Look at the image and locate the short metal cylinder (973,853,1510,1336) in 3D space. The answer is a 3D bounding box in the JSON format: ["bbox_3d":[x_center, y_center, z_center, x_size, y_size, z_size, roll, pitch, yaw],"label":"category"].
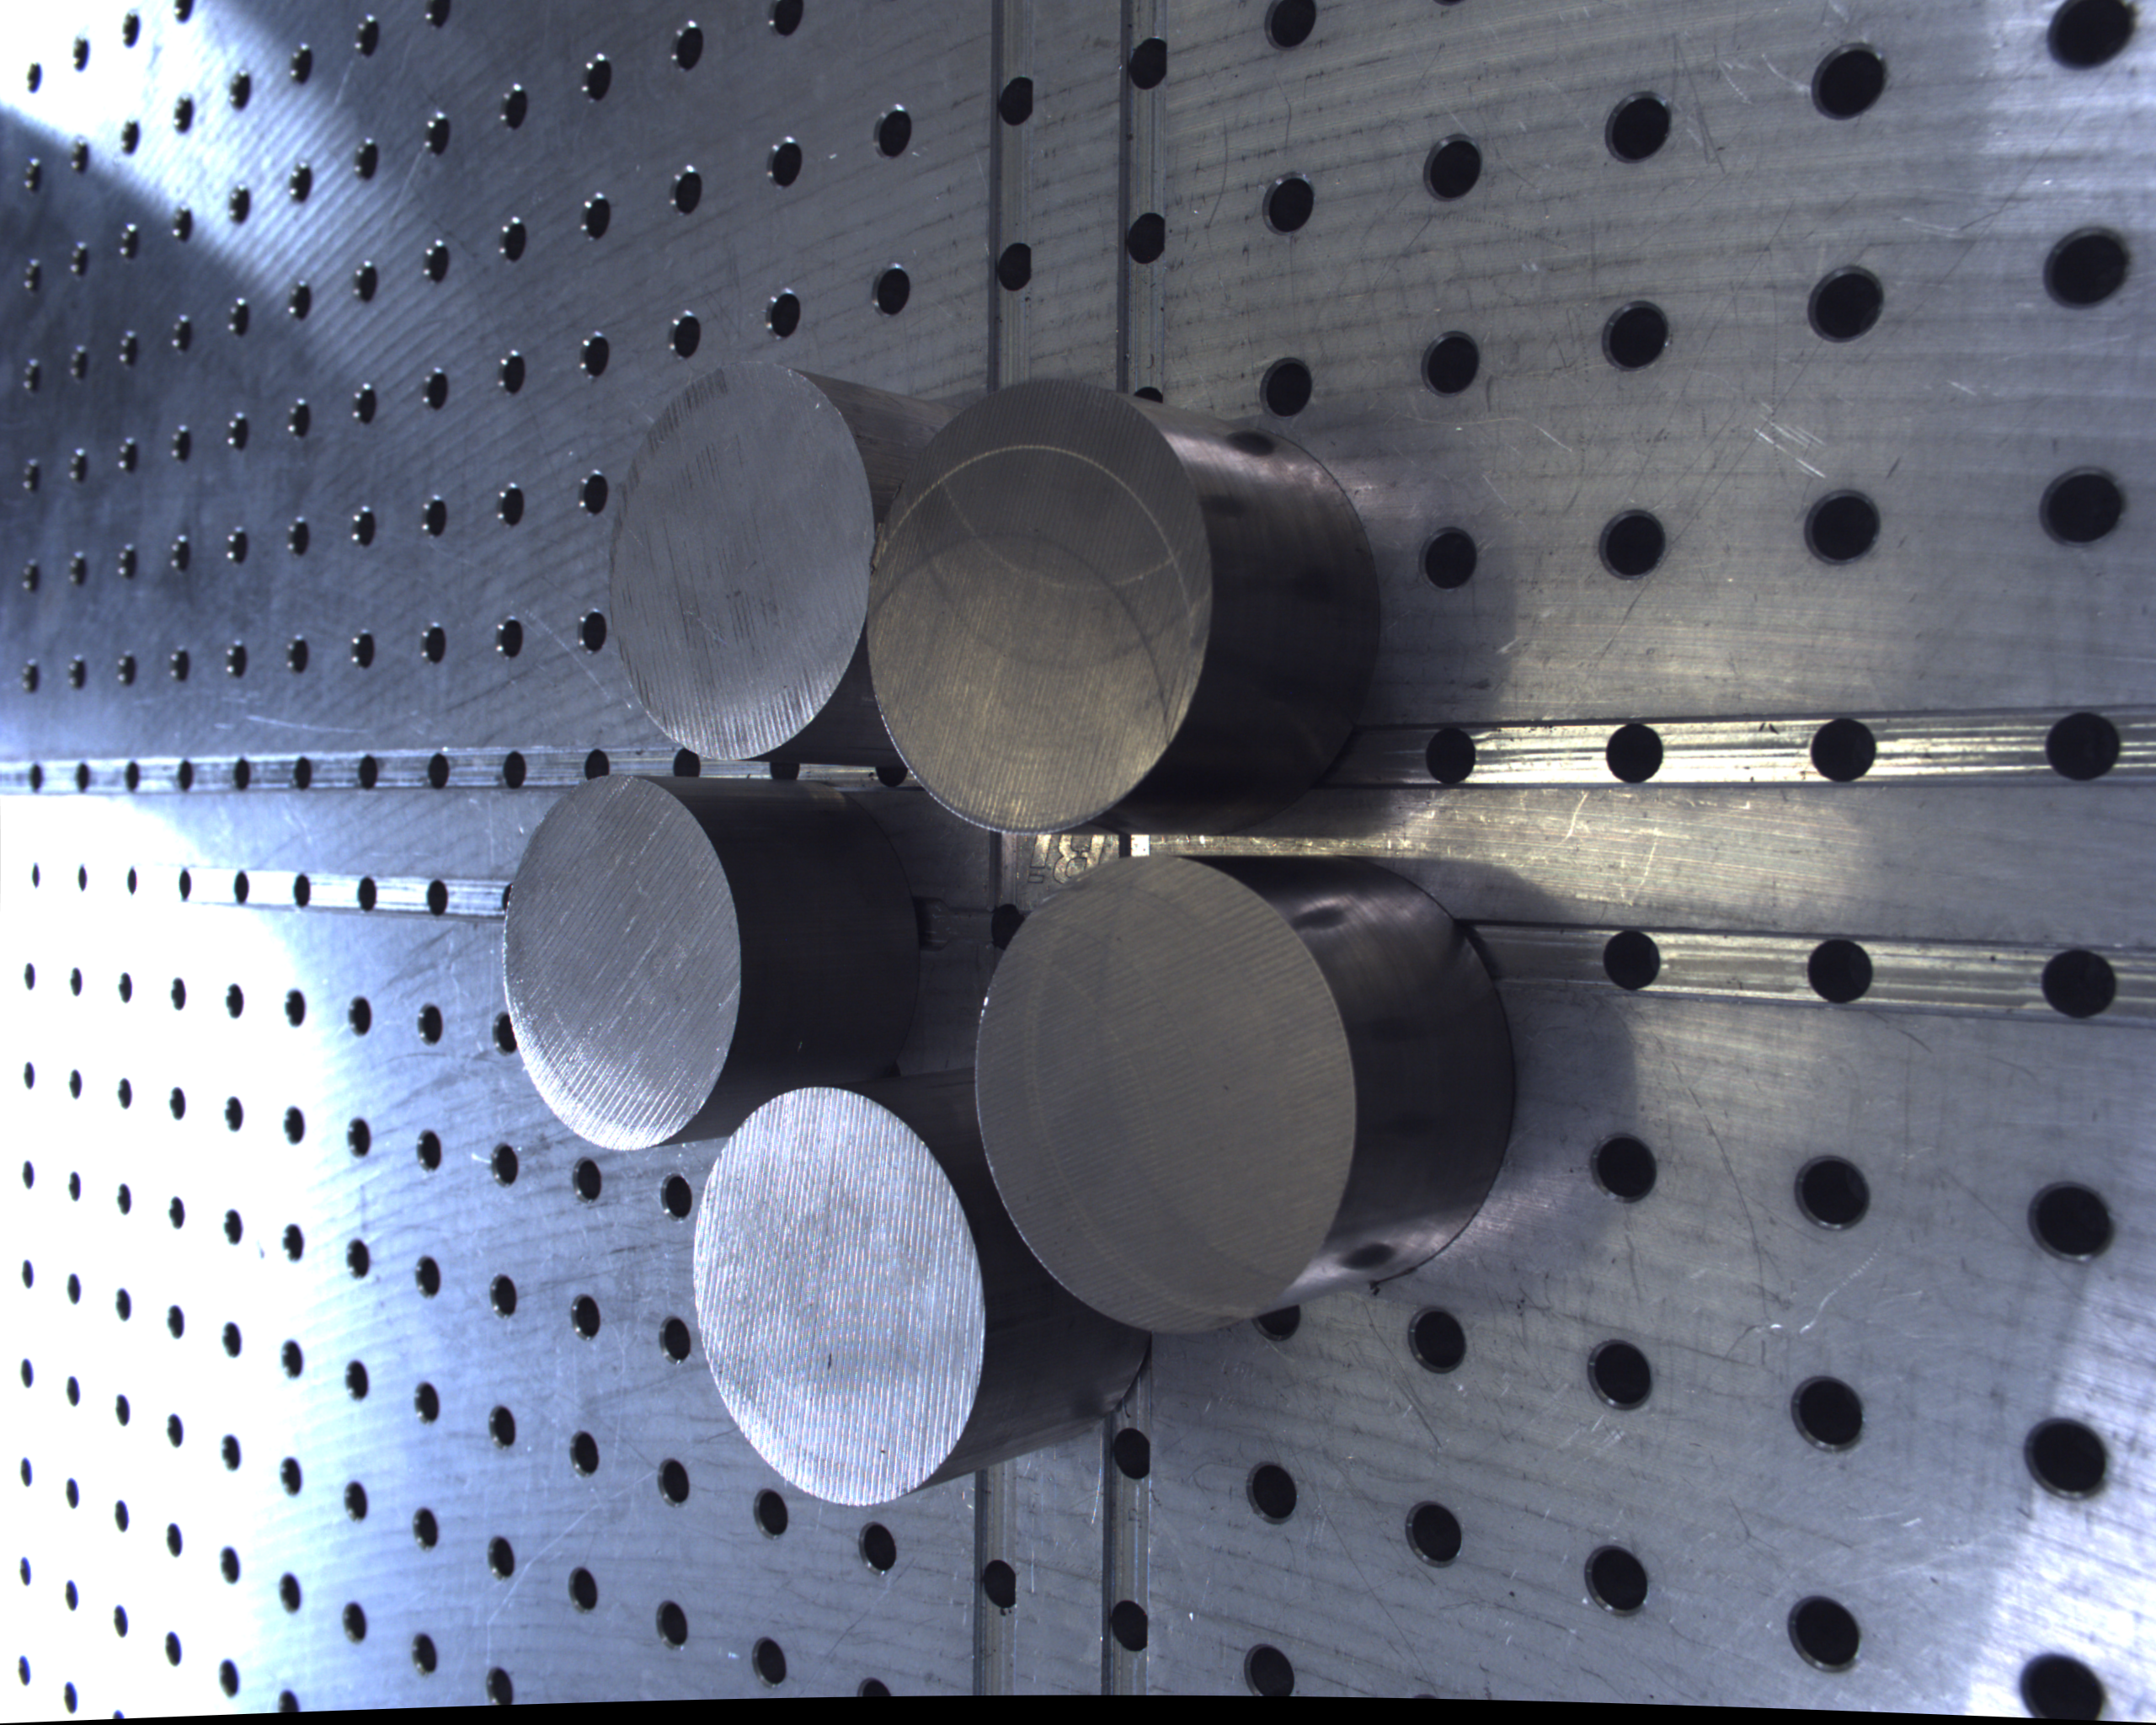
[{"bbox_3d":[0.028,0.039,0.369,0.080,0.050,0.079,1,92,39],"label":"short metal cylinder"}]

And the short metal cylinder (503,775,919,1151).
[{"bbox_3d":[-0.082,0.021,0.460,0.080,0.050,0.079,0,91,40],"label":"short metal cylinder"}]

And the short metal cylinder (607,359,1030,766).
[{"bbox_3d":[-0.053,-0.061,0.436,0.080,0.050,0.079,0,90,39],"label":"short metal cylinder"}]

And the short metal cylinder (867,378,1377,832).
[{"bbox_3d":[0.007,-0.045,0.386,0.080,0.050,0.079,0,91,40],"label":"short metal cylinder"}]

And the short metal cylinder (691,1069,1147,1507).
[{"bbox_3d":[-0.032,0.083,0.418,0.080,0.050,0.080,0,89,40],"label":"short metal cylinder"}]
